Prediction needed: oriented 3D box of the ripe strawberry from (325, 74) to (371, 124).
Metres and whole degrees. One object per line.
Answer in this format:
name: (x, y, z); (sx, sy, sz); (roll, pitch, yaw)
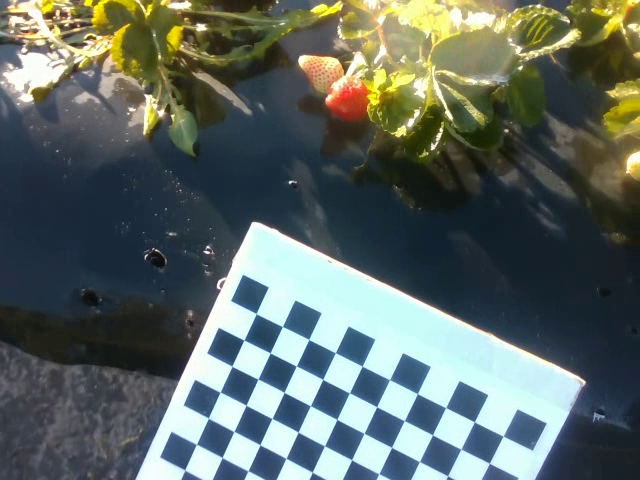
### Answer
ripe strawberry: (0.020, -0.113, 0.497); (0.040, 0.038, 0.055); (8, 4, 34)
